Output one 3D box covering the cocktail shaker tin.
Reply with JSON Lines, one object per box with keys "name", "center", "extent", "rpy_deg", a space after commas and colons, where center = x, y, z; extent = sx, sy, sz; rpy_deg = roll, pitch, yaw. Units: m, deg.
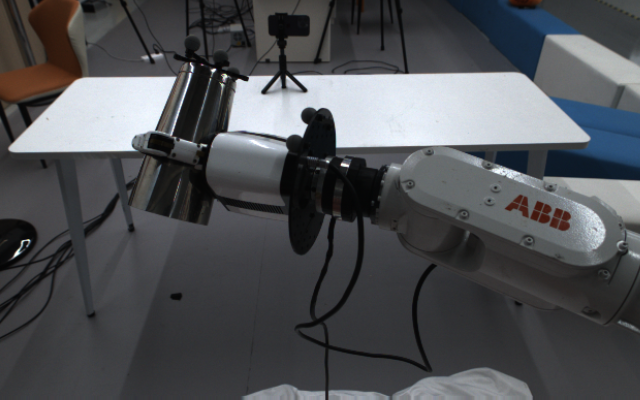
{"name": "cocktail shaker tin", "center": [-0.150, -0.063, 0.557], "extent": [0.093, 0.170, 0.093], "rpy_deg": [15, -4, 1]}
